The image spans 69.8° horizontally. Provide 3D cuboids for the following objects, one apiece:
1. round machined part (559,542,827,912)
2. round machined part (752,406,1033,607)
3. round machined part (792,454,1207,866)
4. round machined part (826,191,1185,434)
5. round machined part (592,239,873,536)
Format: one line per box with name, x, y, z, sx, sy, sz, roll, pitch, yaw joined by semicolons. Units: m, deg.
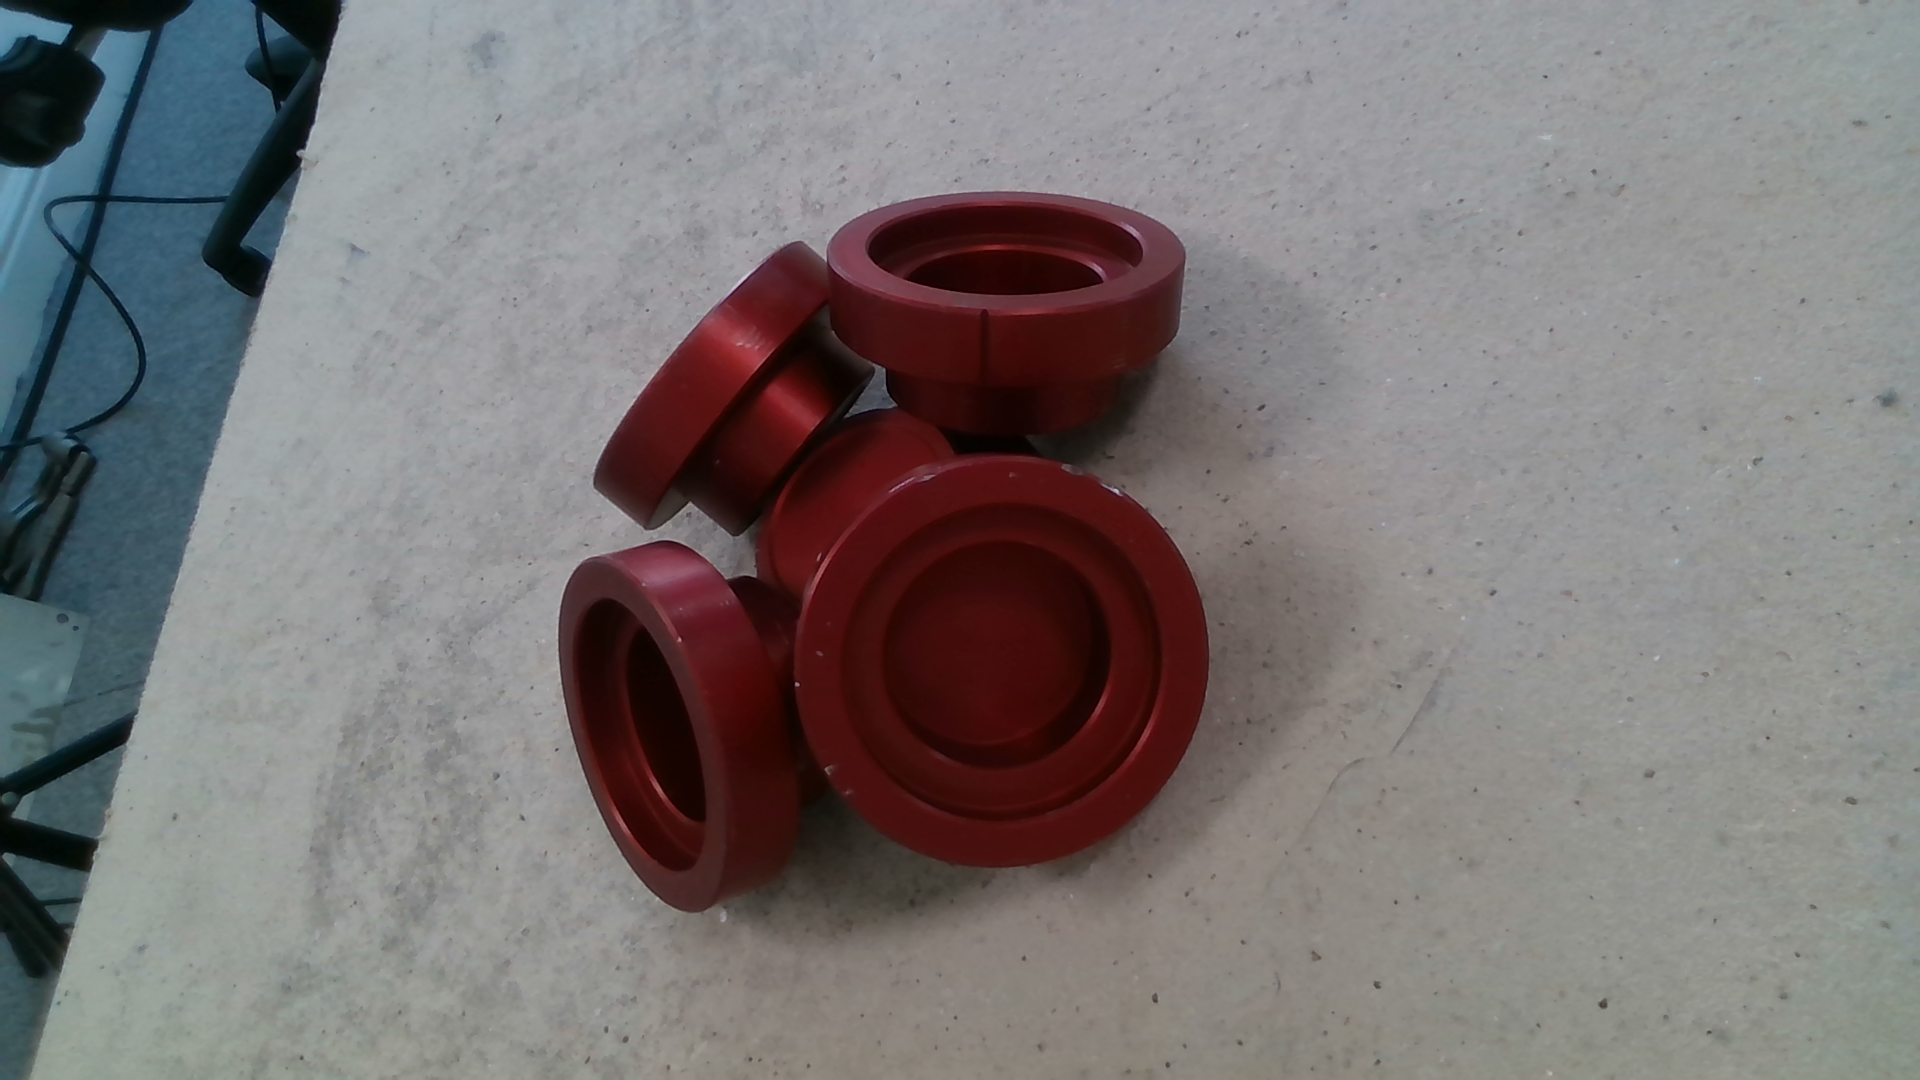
round machined part;-0.070;0.048;0.379;0.098;0.042;0.098;24;122;47
round machined part;-0.020;0.001;0.393;0.098;0.042;0.098;-13;61;24
round machined part;0.008;0.027;0.341;0.098;0.098;0.042;-48;10;1
round machined part;0.012;-0.063;0.388;0.098;0.042;0.098;0;31;0
round machined part;-0.064;-0.040;0.420;0.042;0.098;0.098;40;89;-4
